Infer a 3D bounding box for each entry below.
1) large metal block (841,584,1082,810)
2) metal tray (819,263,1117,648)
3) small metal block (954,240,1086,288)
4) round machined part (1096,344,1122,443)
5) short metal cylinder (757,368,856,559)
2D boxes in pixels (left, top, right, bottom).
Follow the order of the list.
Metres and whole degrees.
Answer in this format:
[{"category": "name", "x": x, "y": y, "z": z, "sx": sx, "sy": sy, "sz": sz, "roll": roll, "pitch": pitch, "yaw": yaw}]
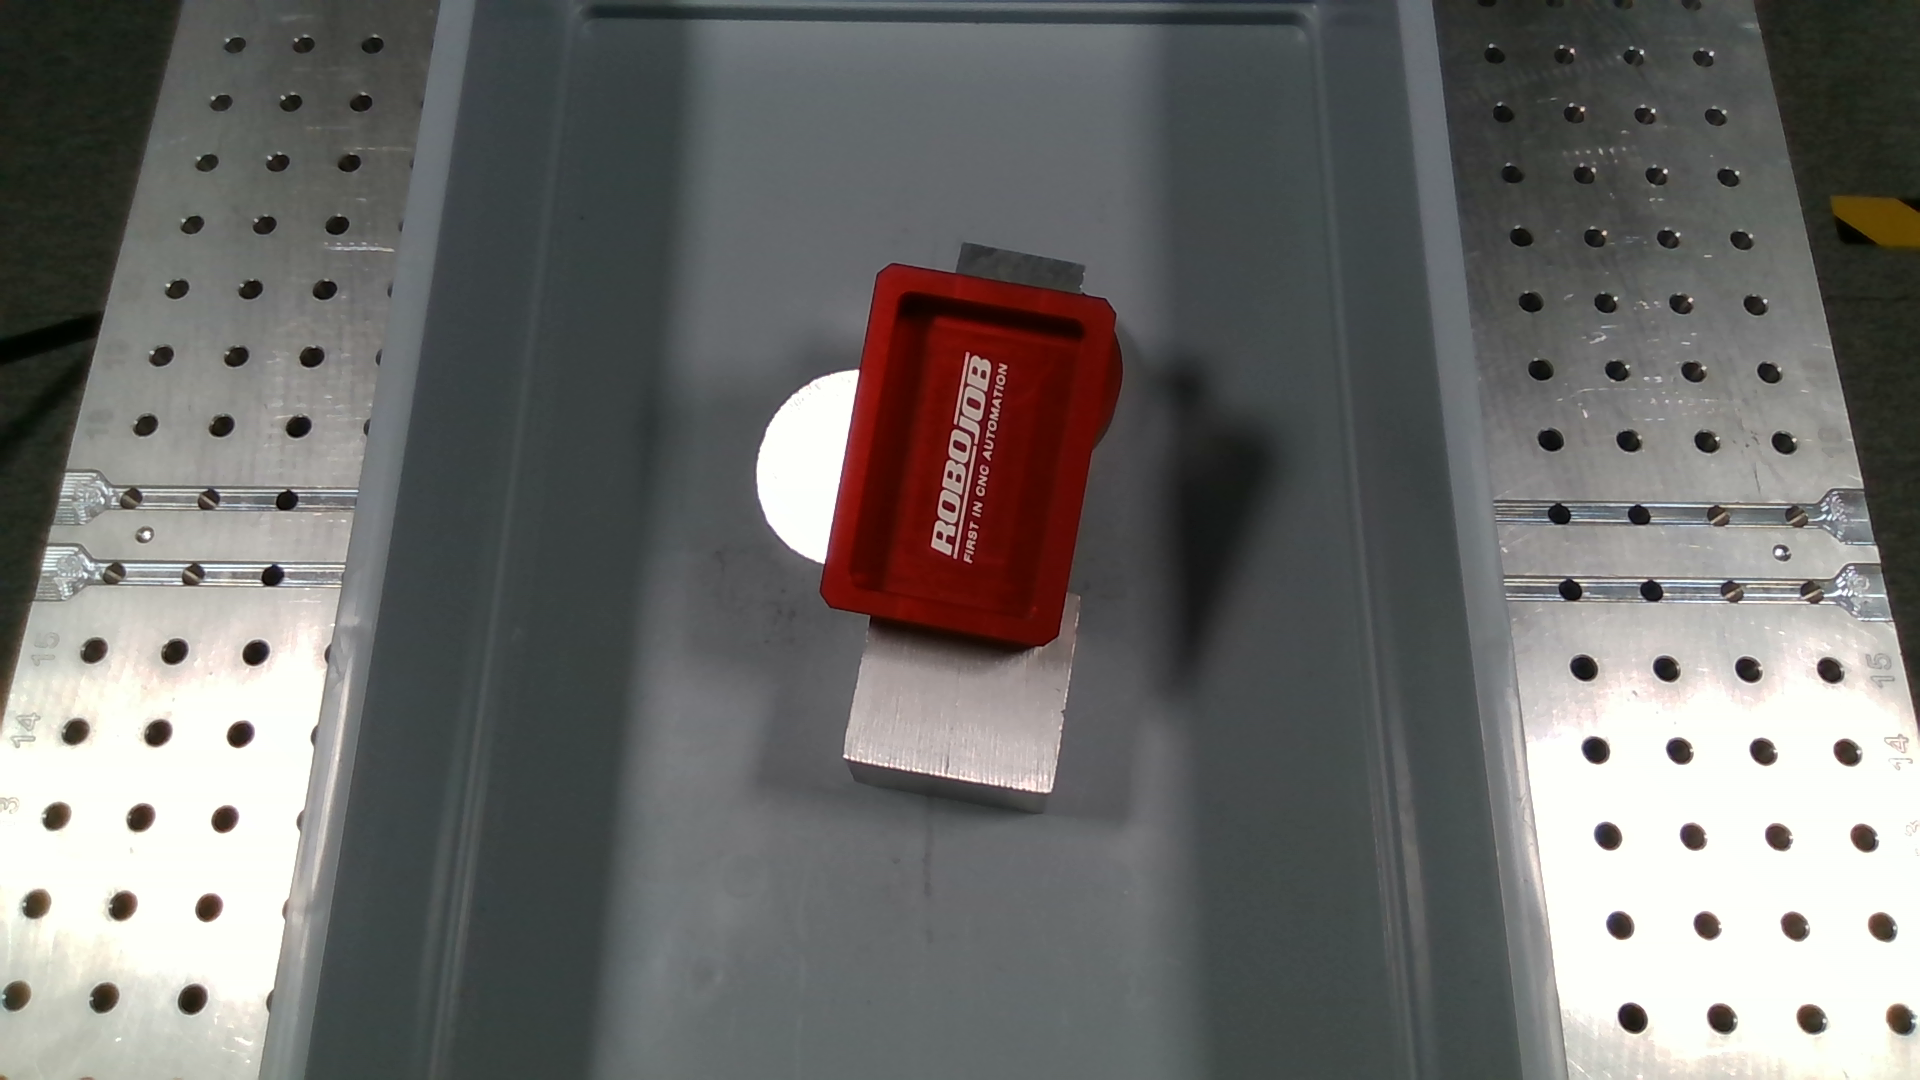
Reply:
[{"category": "large metal block", "x": 0.002, "y": 0.059, "z": 0.551, "sx": 0.080, "sy": 0.050, "sz": 0.080, "roll": 9, "pitch": 71, "yaw": 3}, {"category": "metal tray", "x": 0.003, "y": -0.031, "z": 0.520, "sx": 0.090, "sy": 0.030, "sz": 0.130, "roll": 10, "pitch": 90, "yaw": 4}, {"category": "small metal block", "x": 0.023, "y": -0.094, "z": 0.562, "sx": 0.050, "sy": 0.050, "sz": 0.025, "roll": 11, "pitch": 71, "yaw": 4}, {"category": "round machined part", "x": 0.023, "y": -0.078, "z": 0.606, "sx": 0.098, "sy": 0.042, "sz": 0.098, "roll": 0, "pitch": 70, "yaw": 0}, {"category": "short metal cylinder", "x": -0.037, "y": -0.026, "z": 0.570, "sx": 0.080, "sy": 0.050, "sz": 0.080, "roll": -2, "pitch": 82, "yaw": 13}]
